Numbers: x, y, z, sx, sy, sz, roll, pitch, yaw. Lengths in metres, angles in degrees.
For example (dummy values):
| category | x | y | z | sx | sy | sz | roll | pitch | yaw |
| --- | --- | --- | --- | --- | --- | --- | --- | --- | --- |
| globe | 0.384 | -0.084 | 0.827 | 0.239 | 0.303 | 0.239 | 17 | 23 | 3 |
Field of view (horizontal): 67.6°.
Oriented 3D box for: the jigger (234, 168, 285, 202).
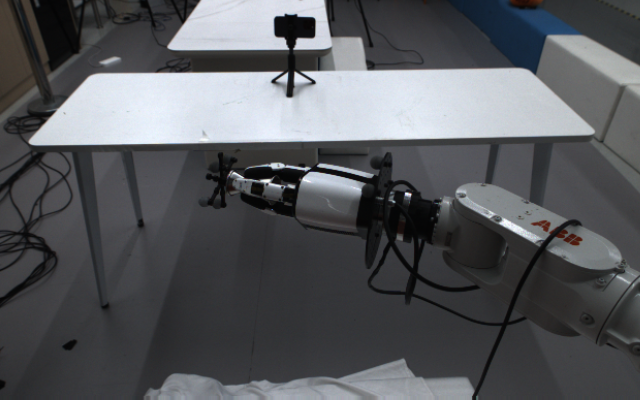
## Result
| category | x | y | z | sx | sy | sz | roll | pitch | yaw |
| --- | --- | --- | --- | --- | --- | --- | --- | --- | --- |
| jigger | -0.090 | -0.023 | 0.697 | 0.071 | 0.043 | 0.043 | 10 | 35 | 16 |
